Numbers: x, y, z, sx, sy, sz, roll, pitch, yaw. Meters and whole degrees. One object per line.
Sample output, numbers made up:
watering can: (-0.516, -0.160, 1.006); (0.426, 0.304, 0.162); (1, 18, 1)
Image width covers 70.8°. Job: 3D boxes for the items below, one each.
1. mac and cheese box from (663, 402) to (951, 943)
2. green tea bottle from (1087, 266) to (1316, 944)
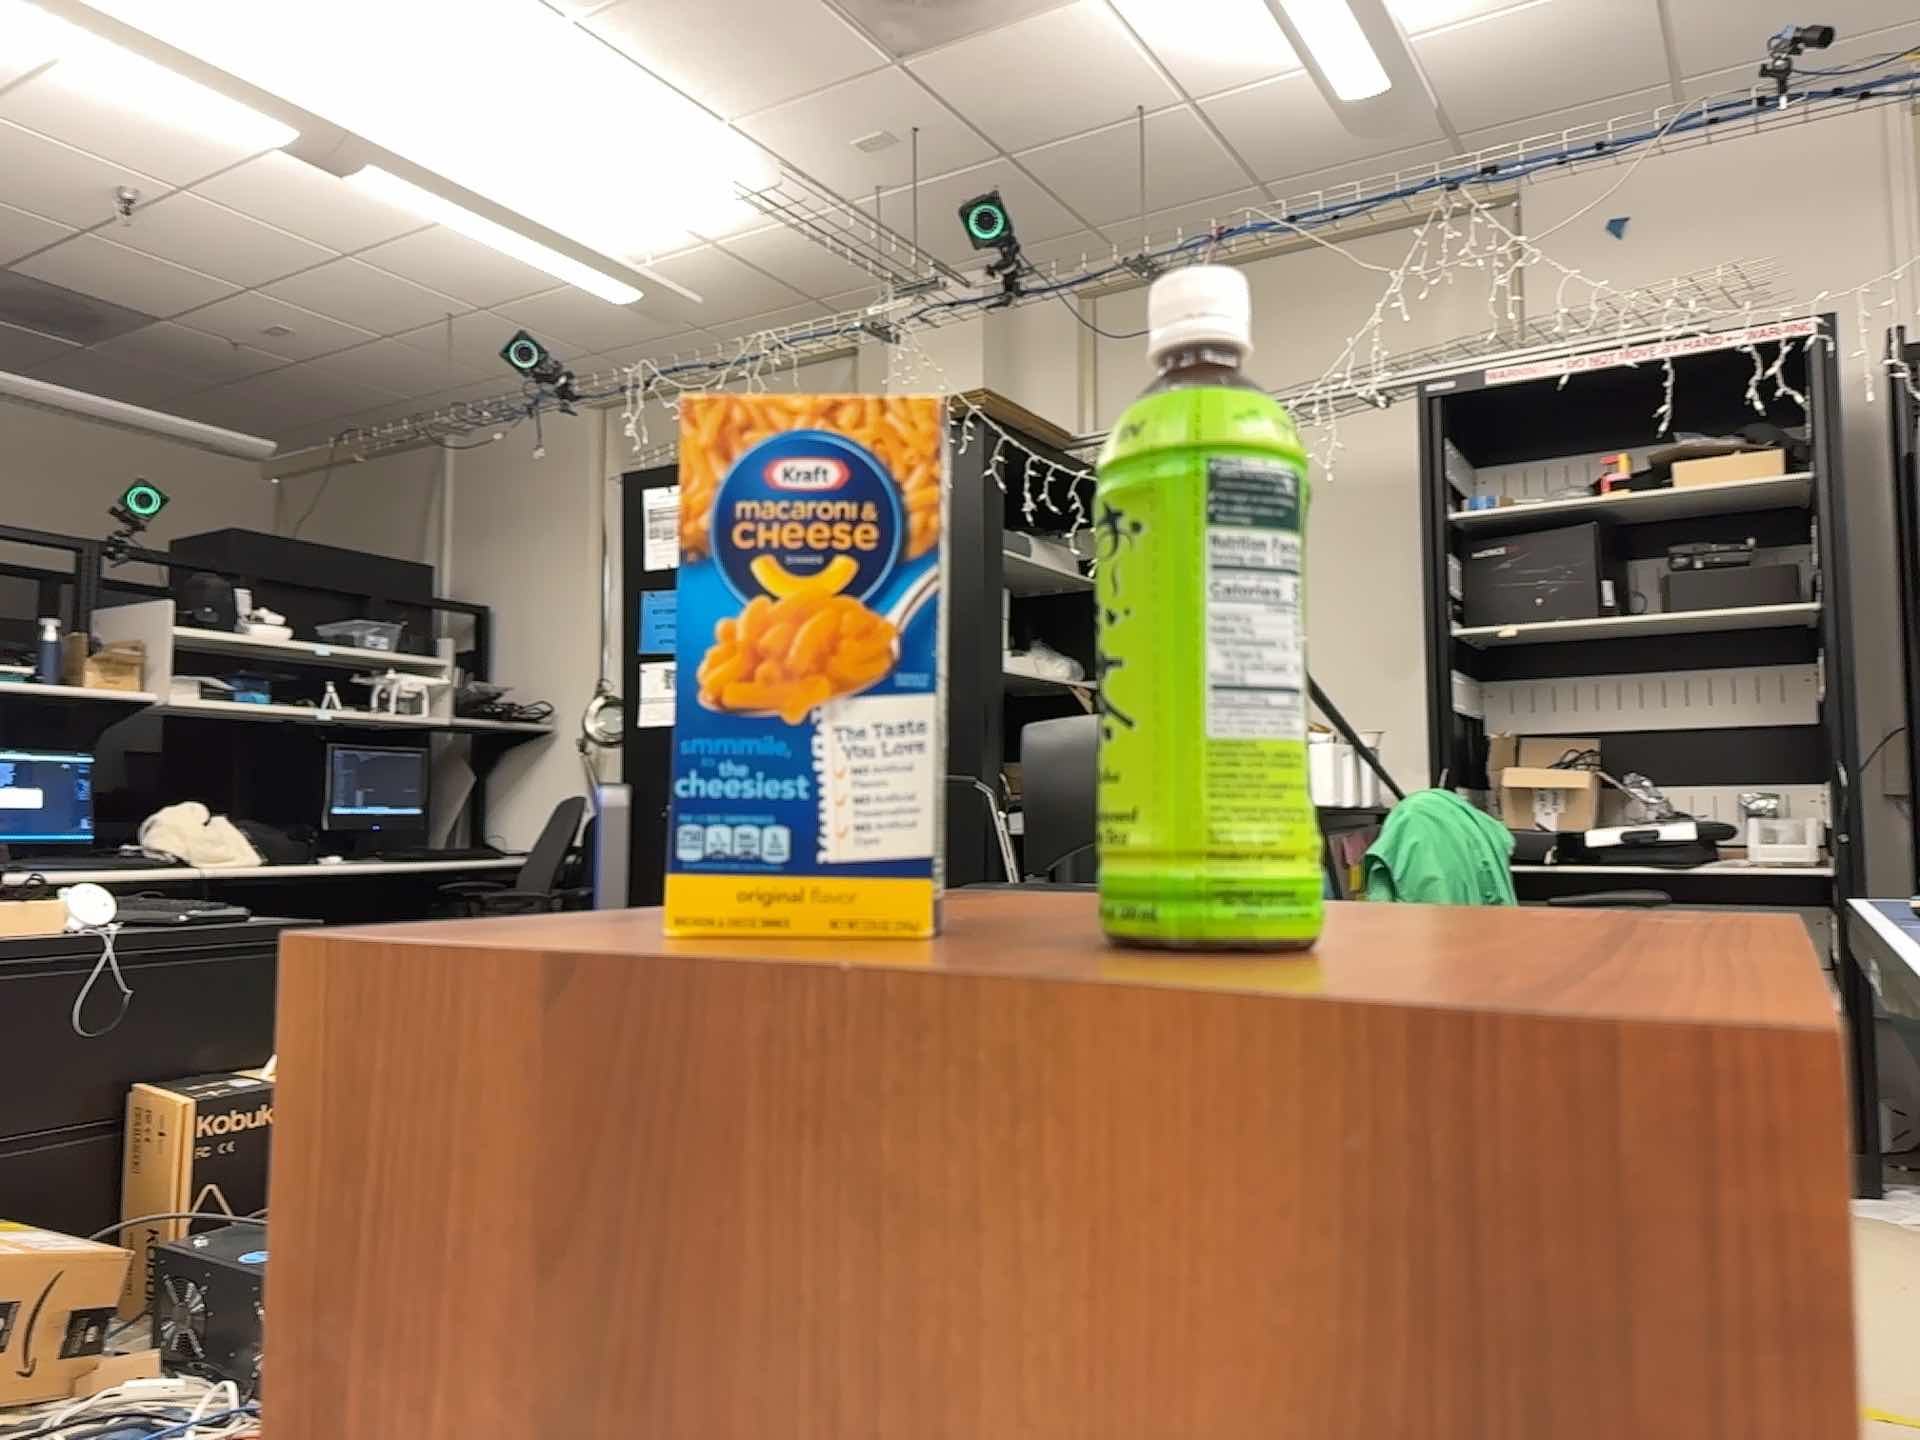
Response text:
mac and cheese box: (-0.051, -0.016, 0.468); (0.088, 0.181, 0.035); (-1, -8, 7)
green tea bottle: (0.076, -0.037, 0.426); (0.073, 0.212, 0.073); (3, -8, 0)
